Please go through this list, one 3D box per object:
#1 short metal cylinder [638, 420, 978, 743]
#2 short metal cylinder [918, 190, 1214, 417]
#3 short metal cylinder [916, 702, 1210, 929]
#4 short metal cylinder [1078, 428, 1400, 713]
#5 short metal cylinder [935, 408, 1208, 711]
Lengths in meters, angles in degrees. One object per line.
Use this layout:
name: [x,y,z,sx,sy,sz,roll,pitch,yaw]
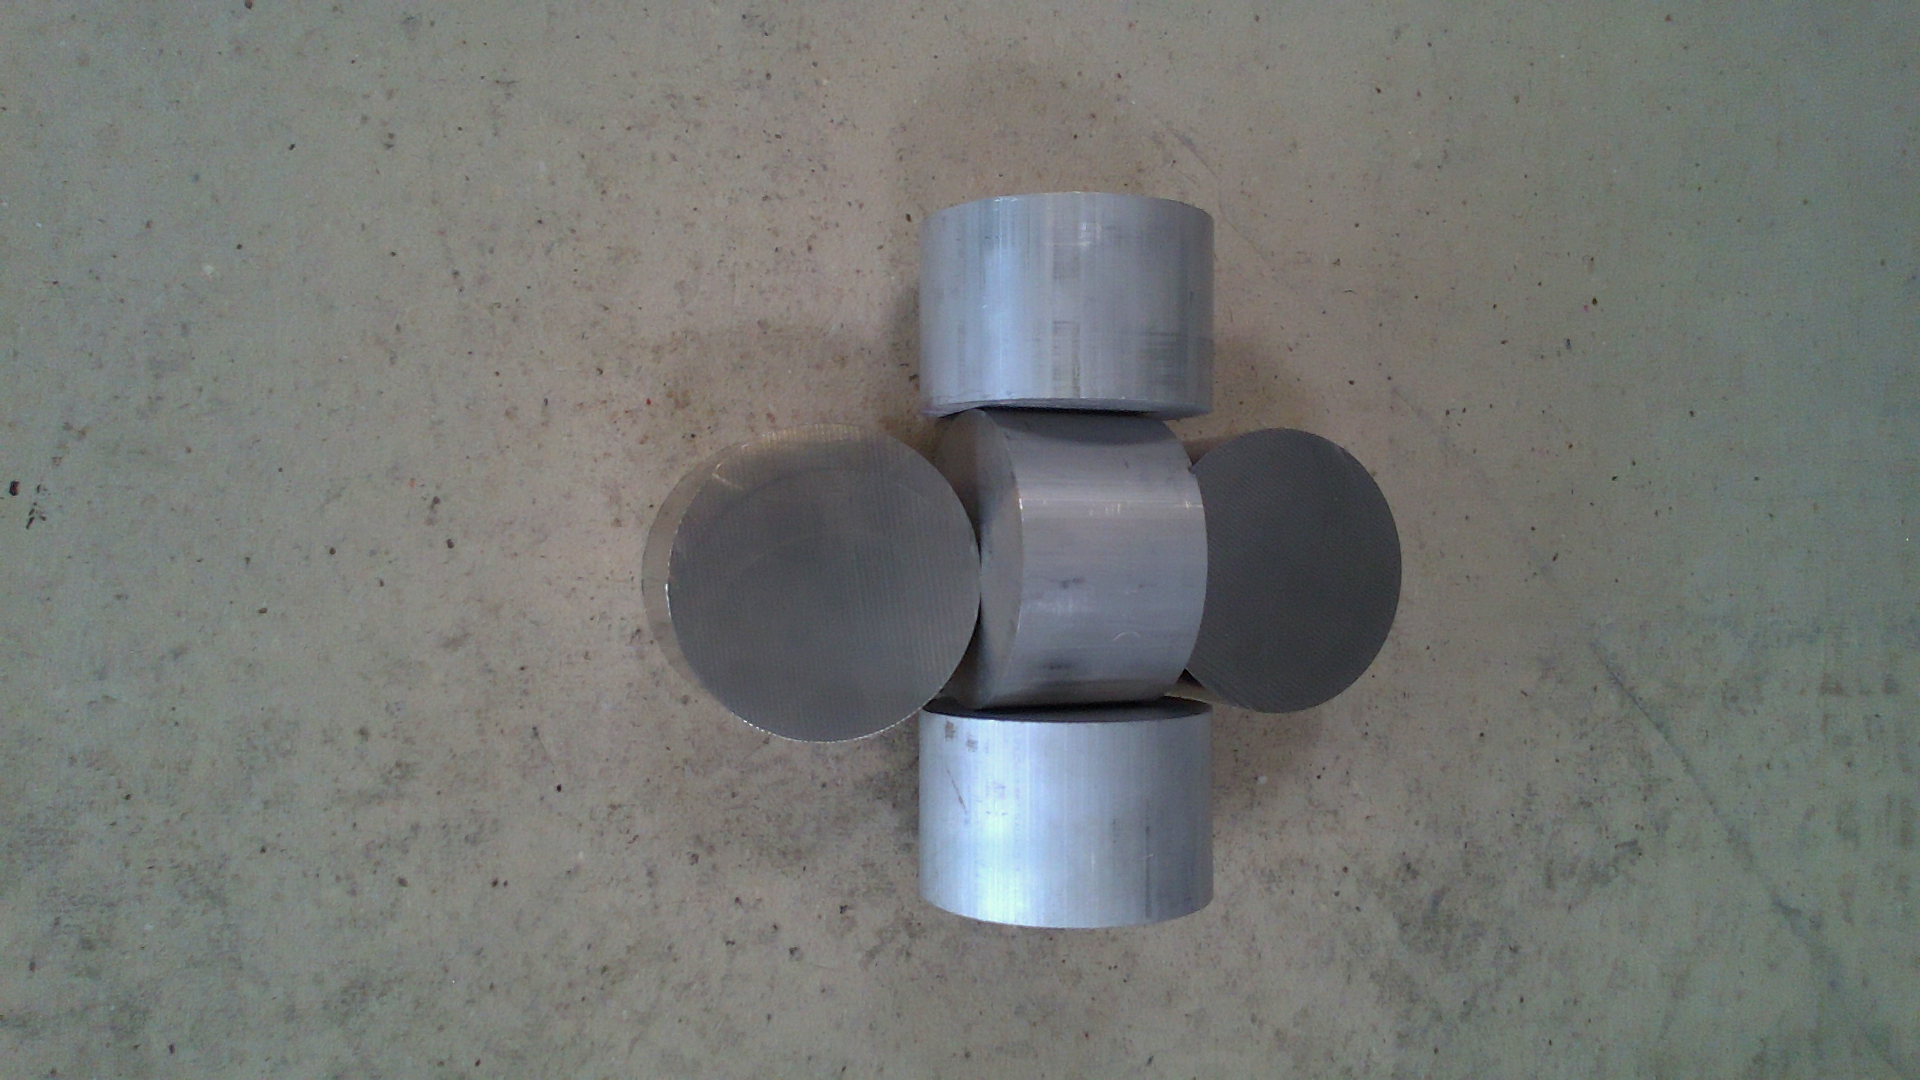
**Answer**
short metal cylinder: [-0.041,0.010,0.365,0.080,0.050,0.080,0,90,-21]
short metal cylinder: [0.029,-0.060,0.375,0.080,0.080,0.050,0,90,-20]
short metal cylinder: [0.028,0.070,0.375,0.080,0.080,0.050,0,90,-20]
short metal cylinder: [0.082,0.008,0.410,0.080,0.050,0.080,0,90,-20]
short metal cylinder: [0.025,0.005,0.374,0.050,0.080,0.080,0,90,-20]
